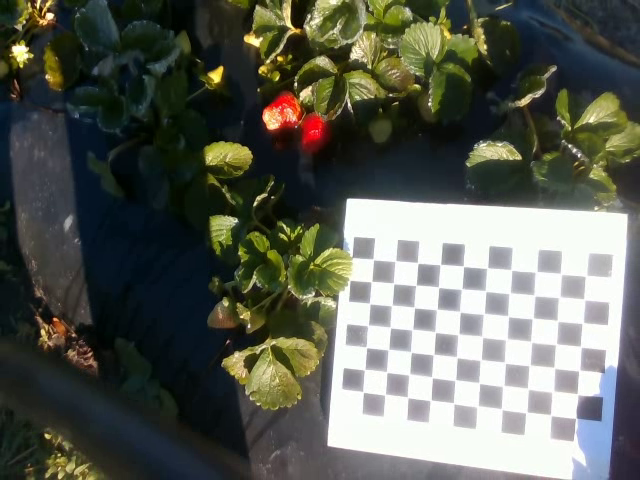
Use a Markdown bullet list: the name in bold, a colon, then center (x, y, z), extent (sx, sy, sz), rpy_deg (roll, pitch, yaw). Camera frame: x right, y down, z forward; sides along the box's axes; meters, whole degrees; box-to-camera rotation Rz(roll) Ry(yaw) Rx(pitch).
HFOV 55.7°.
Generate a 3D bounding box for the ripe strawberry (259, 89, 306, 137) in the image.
- **ripe strawberry**: center (-0.054, -0.176, 0.841), extent (0.069, 0.053, 0.040), rpy_deg (-39, -4, 0)

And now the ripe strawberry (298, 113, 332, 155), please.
- **ripe strawberry**: center (-0.011, -0.150, 0.820), extent (0.043, 0.059, 0.040), rpy_deg (4, -8, 13)
